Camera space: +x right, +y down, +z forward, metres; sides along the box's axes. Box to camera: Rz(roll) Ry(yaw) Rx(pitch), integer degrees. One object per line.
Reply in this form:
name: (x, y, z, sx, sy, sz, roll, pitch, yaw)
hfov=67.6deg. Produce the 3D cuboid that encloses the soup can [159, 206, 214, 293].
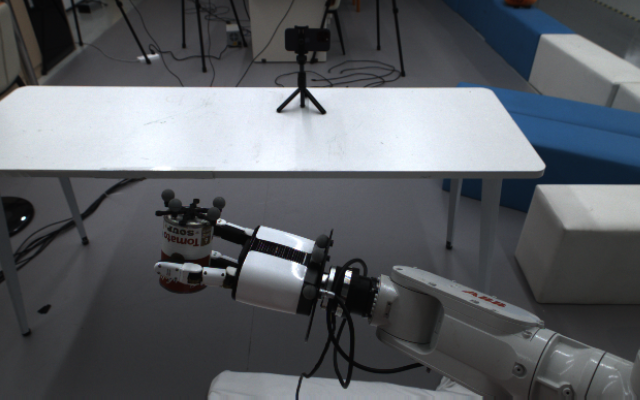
soup can: (-0.180, 0.068, 0.660, 0.067, 0.101, 0.067, 8, 20, -3)
